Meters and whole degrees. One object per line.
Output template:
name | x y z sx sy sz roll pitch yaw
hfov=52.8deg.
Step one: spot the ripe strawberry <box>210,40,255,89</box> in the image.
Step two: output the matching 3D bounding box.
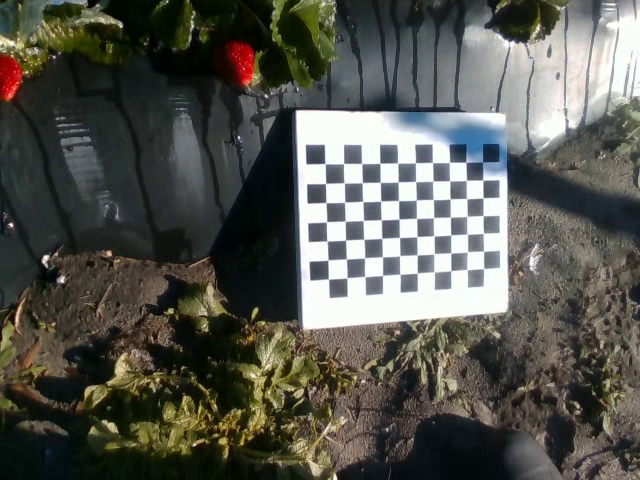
ripe strawberry | -0.075 -0.160 0.574 0.041 0.053 0.047 -10 -31 -16
